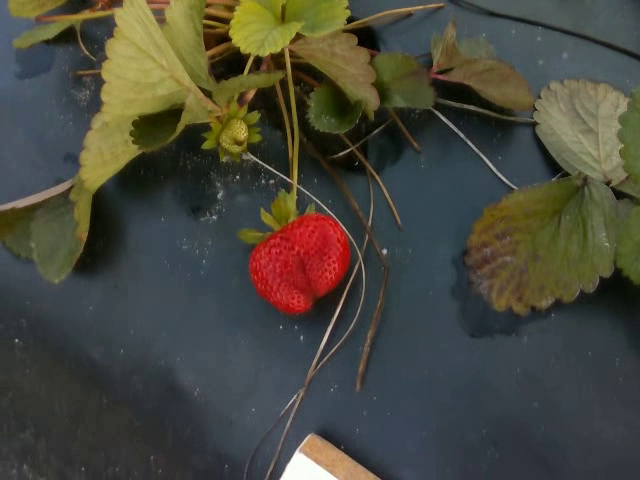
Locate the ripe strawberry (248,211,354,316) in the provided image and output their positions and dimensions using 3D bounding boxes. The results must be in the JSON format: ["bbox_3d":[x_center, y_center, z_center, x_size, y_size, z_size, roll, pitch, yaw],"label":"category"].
[{"bbox_3d":[-0.003,0.005,0.074,0.017,0.015,0.013,-39,-52,19],"label":"ripe strawberry"}]
